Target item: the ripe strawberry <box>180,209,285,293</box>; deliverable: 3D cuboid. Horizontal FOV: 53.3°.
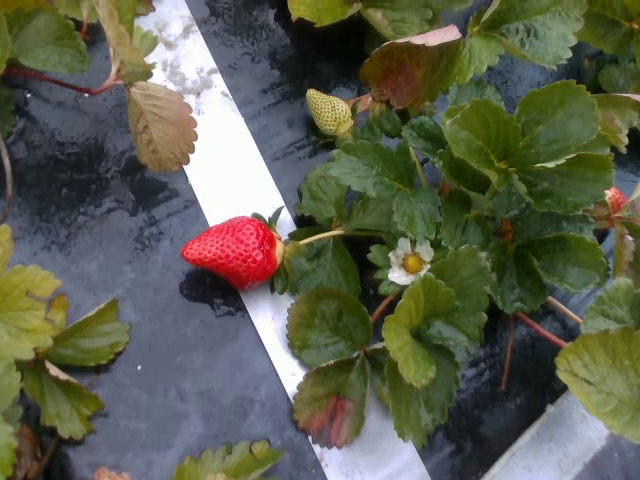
[{"bbox_3d":[-0.044,0.005,0.304,0.051,0.041,0.038,-3,4,-30],"label":"ripe strawberry"}]
